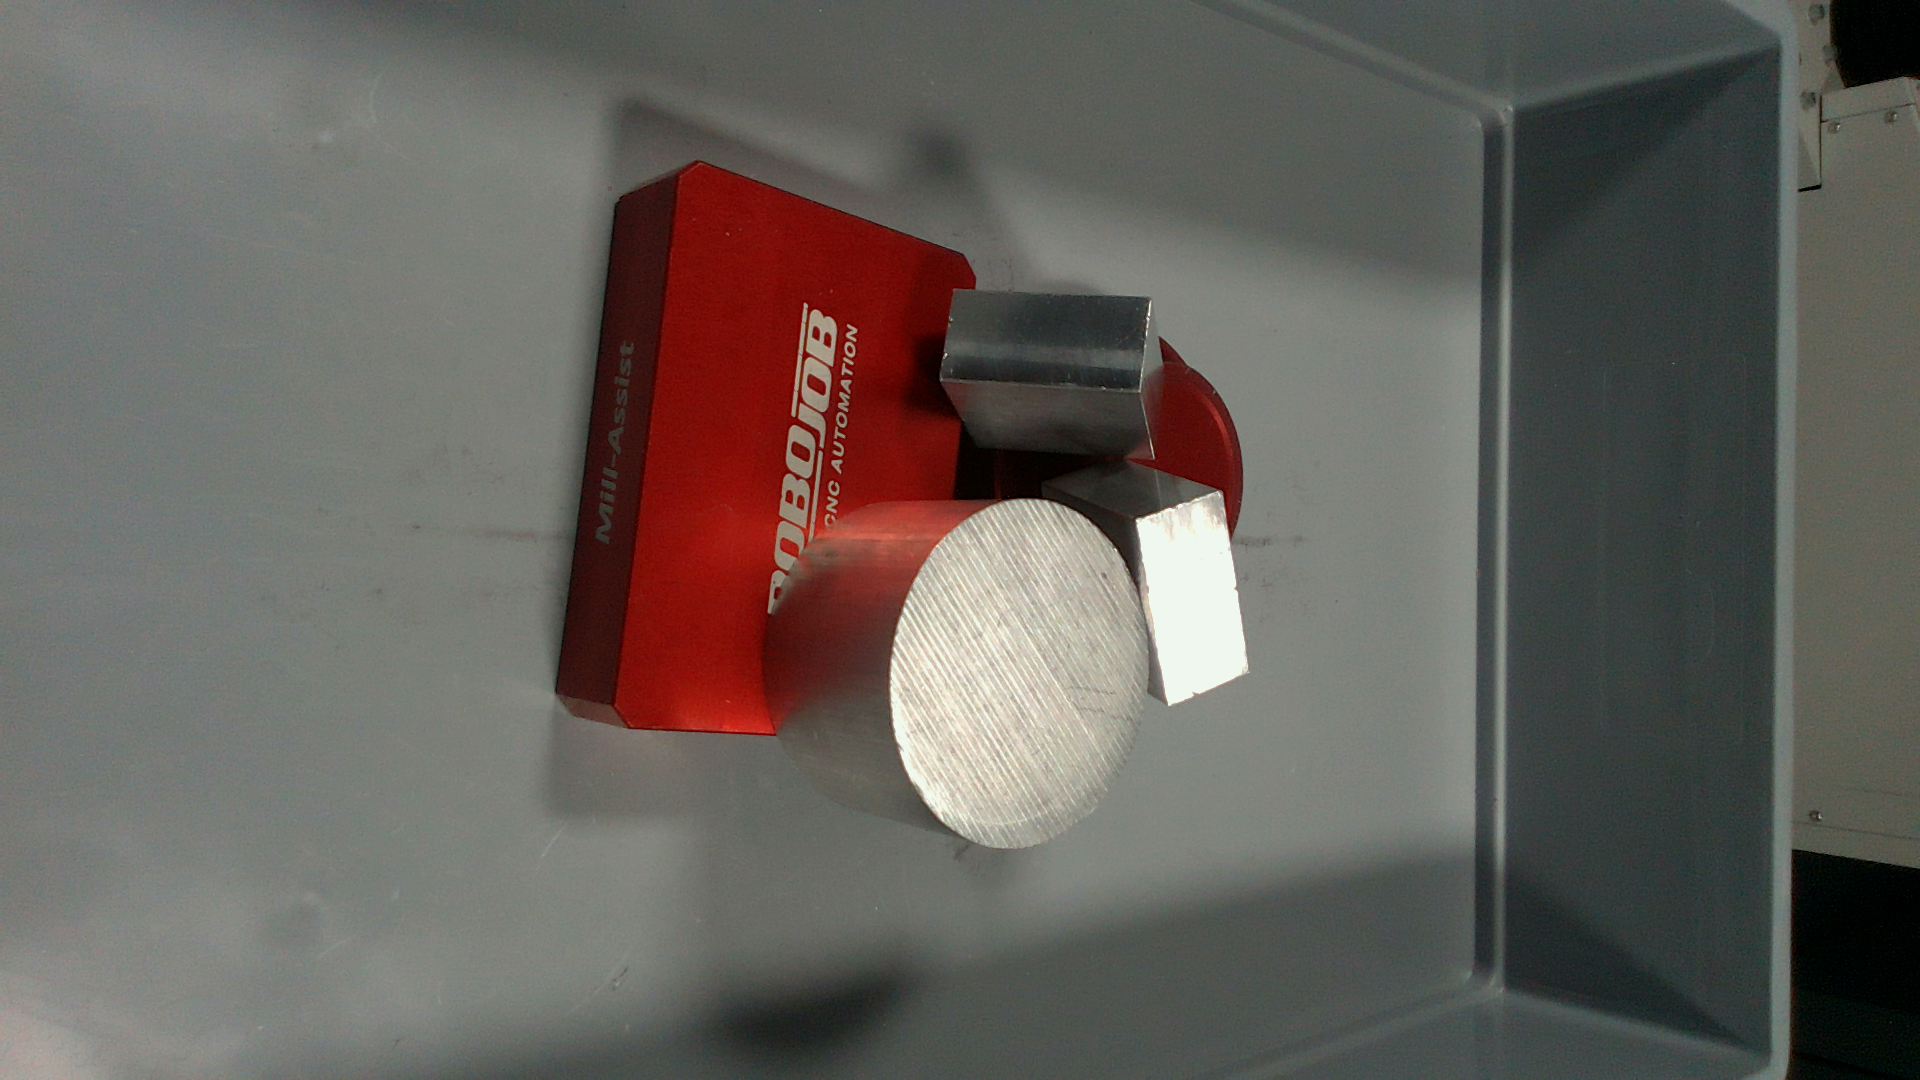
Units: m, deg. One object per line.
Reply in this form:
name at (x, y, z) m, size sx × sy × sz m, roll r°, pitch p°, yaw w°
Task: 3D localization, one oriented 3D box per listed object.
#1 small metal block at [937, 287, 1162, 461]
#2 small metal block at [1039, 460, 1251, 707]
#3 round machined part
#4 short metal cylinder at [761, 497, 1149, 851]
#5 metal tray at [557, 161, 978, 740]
small metal block at (0.026, -0.042, 0.359) m, size 0.050 × 0.050 × 0.025 m, roll 53°, pitch 44°, yaw -70°
small metal block at (0.048, 0.009, 0.360) m, size 0.025 × 0.050 × 0.050 m, roll -19°, pitch 110°, yaw -19°
round machined part at (0.048, -0.019, 0.416) m, size 0.098 × 0.042 × 0.098 m, roll 0°, pitch 90°, yaw -40°
short metal cylinder at (0.000, 0.030, 0.332) m, size 0.080 × 0.050 × 0.080 m, roll 0°, pitch 90°, yaw -40°
metal tray at (-0.045, -0.017, 0.344) m, size 0.090 × 0.030 × 0.130 m, roll 10°, pitch 84°, yaw -39°
